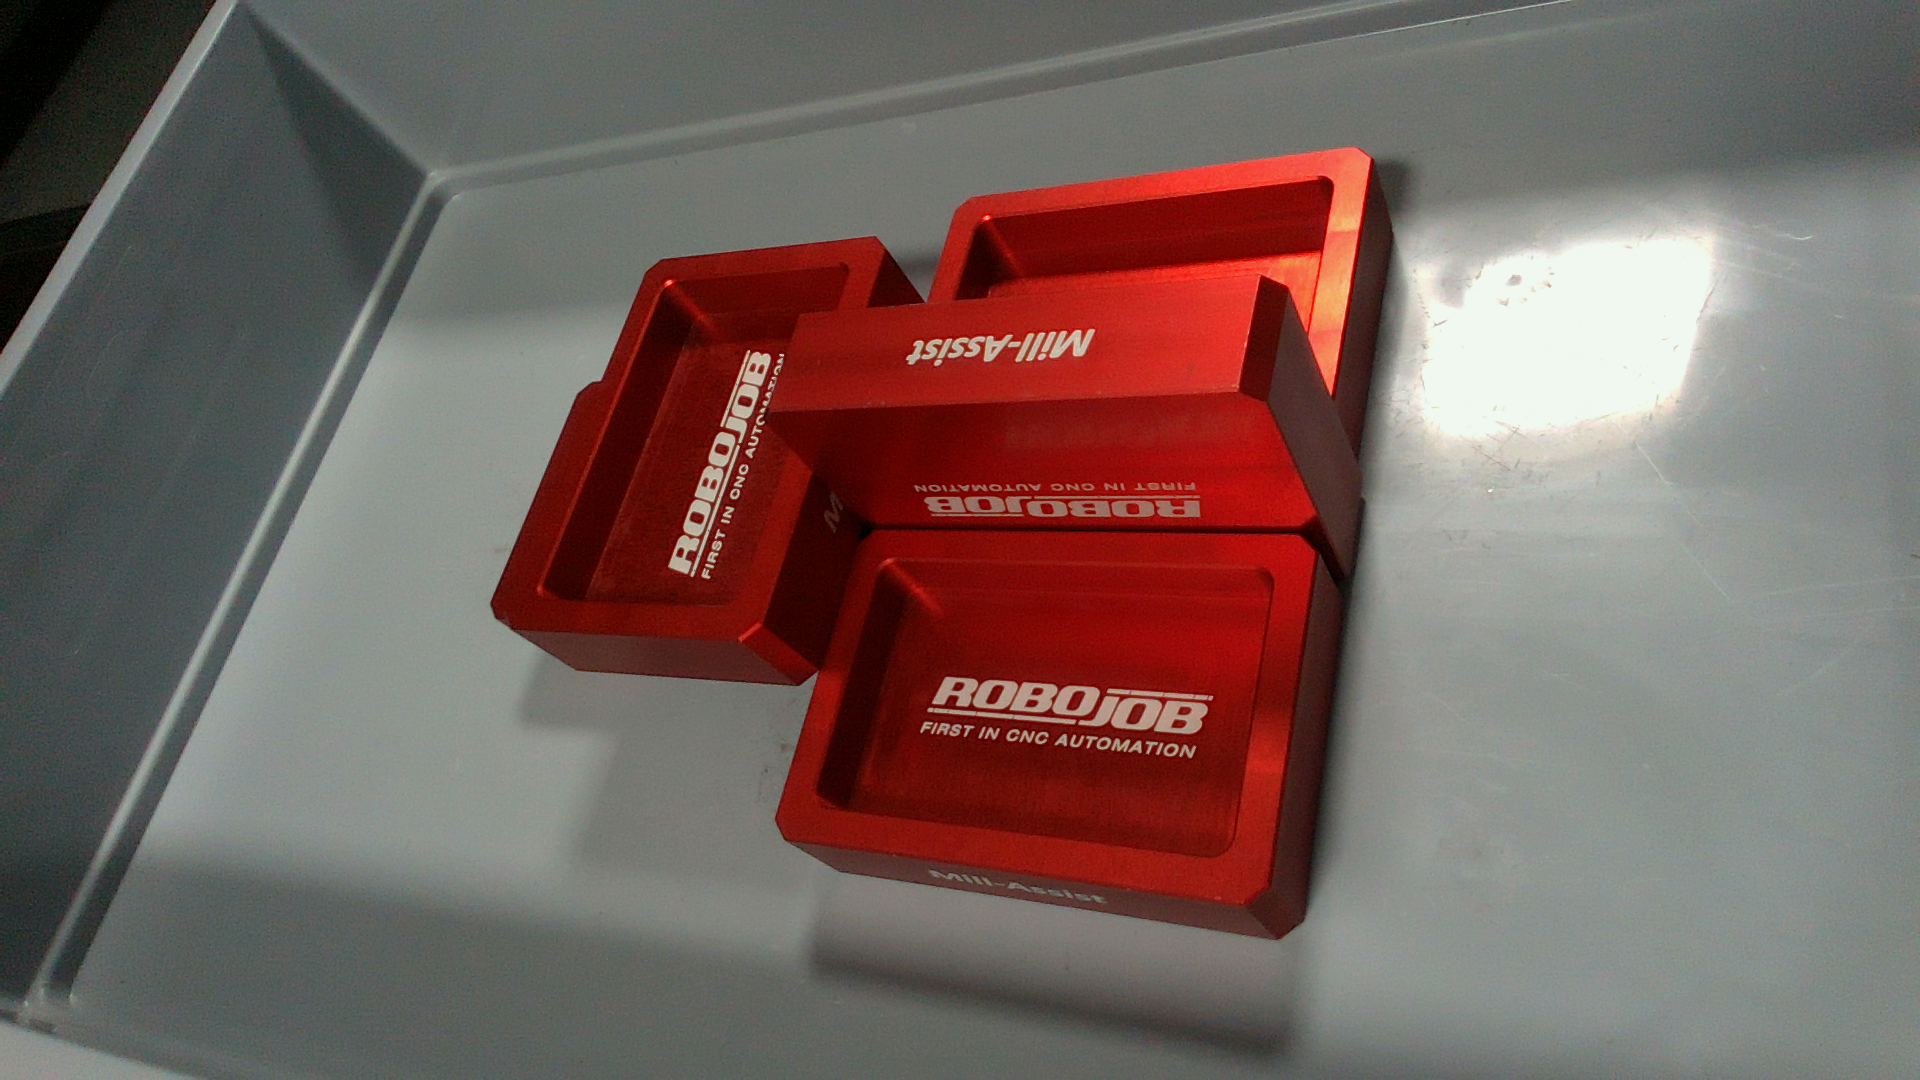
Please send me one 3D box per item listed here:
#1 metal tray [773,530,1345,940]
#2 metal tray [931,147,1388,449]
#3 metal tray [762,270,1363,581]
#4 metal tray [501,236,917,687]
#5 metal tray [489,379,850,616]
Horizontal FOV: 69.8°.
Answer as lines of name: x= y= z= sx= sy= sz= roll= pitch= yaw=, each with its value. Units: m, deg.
metal tray: x=0.024 y=0.044 z=0.349 sx=0.130 sy=0.030 sz=0.090 roll=1 pitch=62 yaw=29
metal tray: x=0.052 y=-0.063 z=0.400 sx=0.130 sy=0.030 sz=0.090 roll=1 pitch=62 yaw=29
metal tray: x=0.027 y=-0.024 z=0.349 sx=0.130 sy=0.090 sz=0.030 roll=1 pitch=62 yaw=29
metal tray: x=-0.070 y=-0.025 z=0.402 sx=0.090 sy=0.030 sz=0.130 roll=1 pitch=62 yaw=29
metal tray: x=-0.078 y=-0.009 z=0.435 sx=0.130 sy=0.030 sz=0.090 roll=0 pitch=62 yaw=29
